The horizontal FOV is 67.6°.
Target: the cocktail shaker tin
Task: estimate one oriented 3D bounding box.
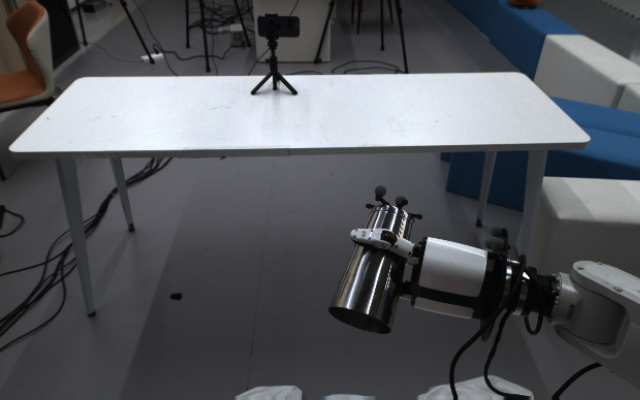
[{"bbox_3d":[0.081,0.094,0.699,0.093,0.093,0.170,14,62,17],"label":"cocktail shaker tin"}]
